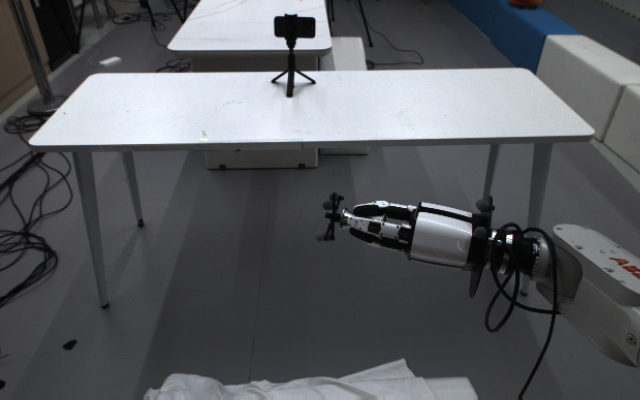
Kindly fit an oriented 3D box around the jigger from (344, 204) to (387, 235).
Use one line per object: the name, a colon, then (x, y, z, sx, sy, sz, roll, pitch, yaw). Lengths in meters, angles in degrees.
jigger: (0.076, 0.034, 0.787, 0.071, 0.043, 0.043, 10, 35, 16)
